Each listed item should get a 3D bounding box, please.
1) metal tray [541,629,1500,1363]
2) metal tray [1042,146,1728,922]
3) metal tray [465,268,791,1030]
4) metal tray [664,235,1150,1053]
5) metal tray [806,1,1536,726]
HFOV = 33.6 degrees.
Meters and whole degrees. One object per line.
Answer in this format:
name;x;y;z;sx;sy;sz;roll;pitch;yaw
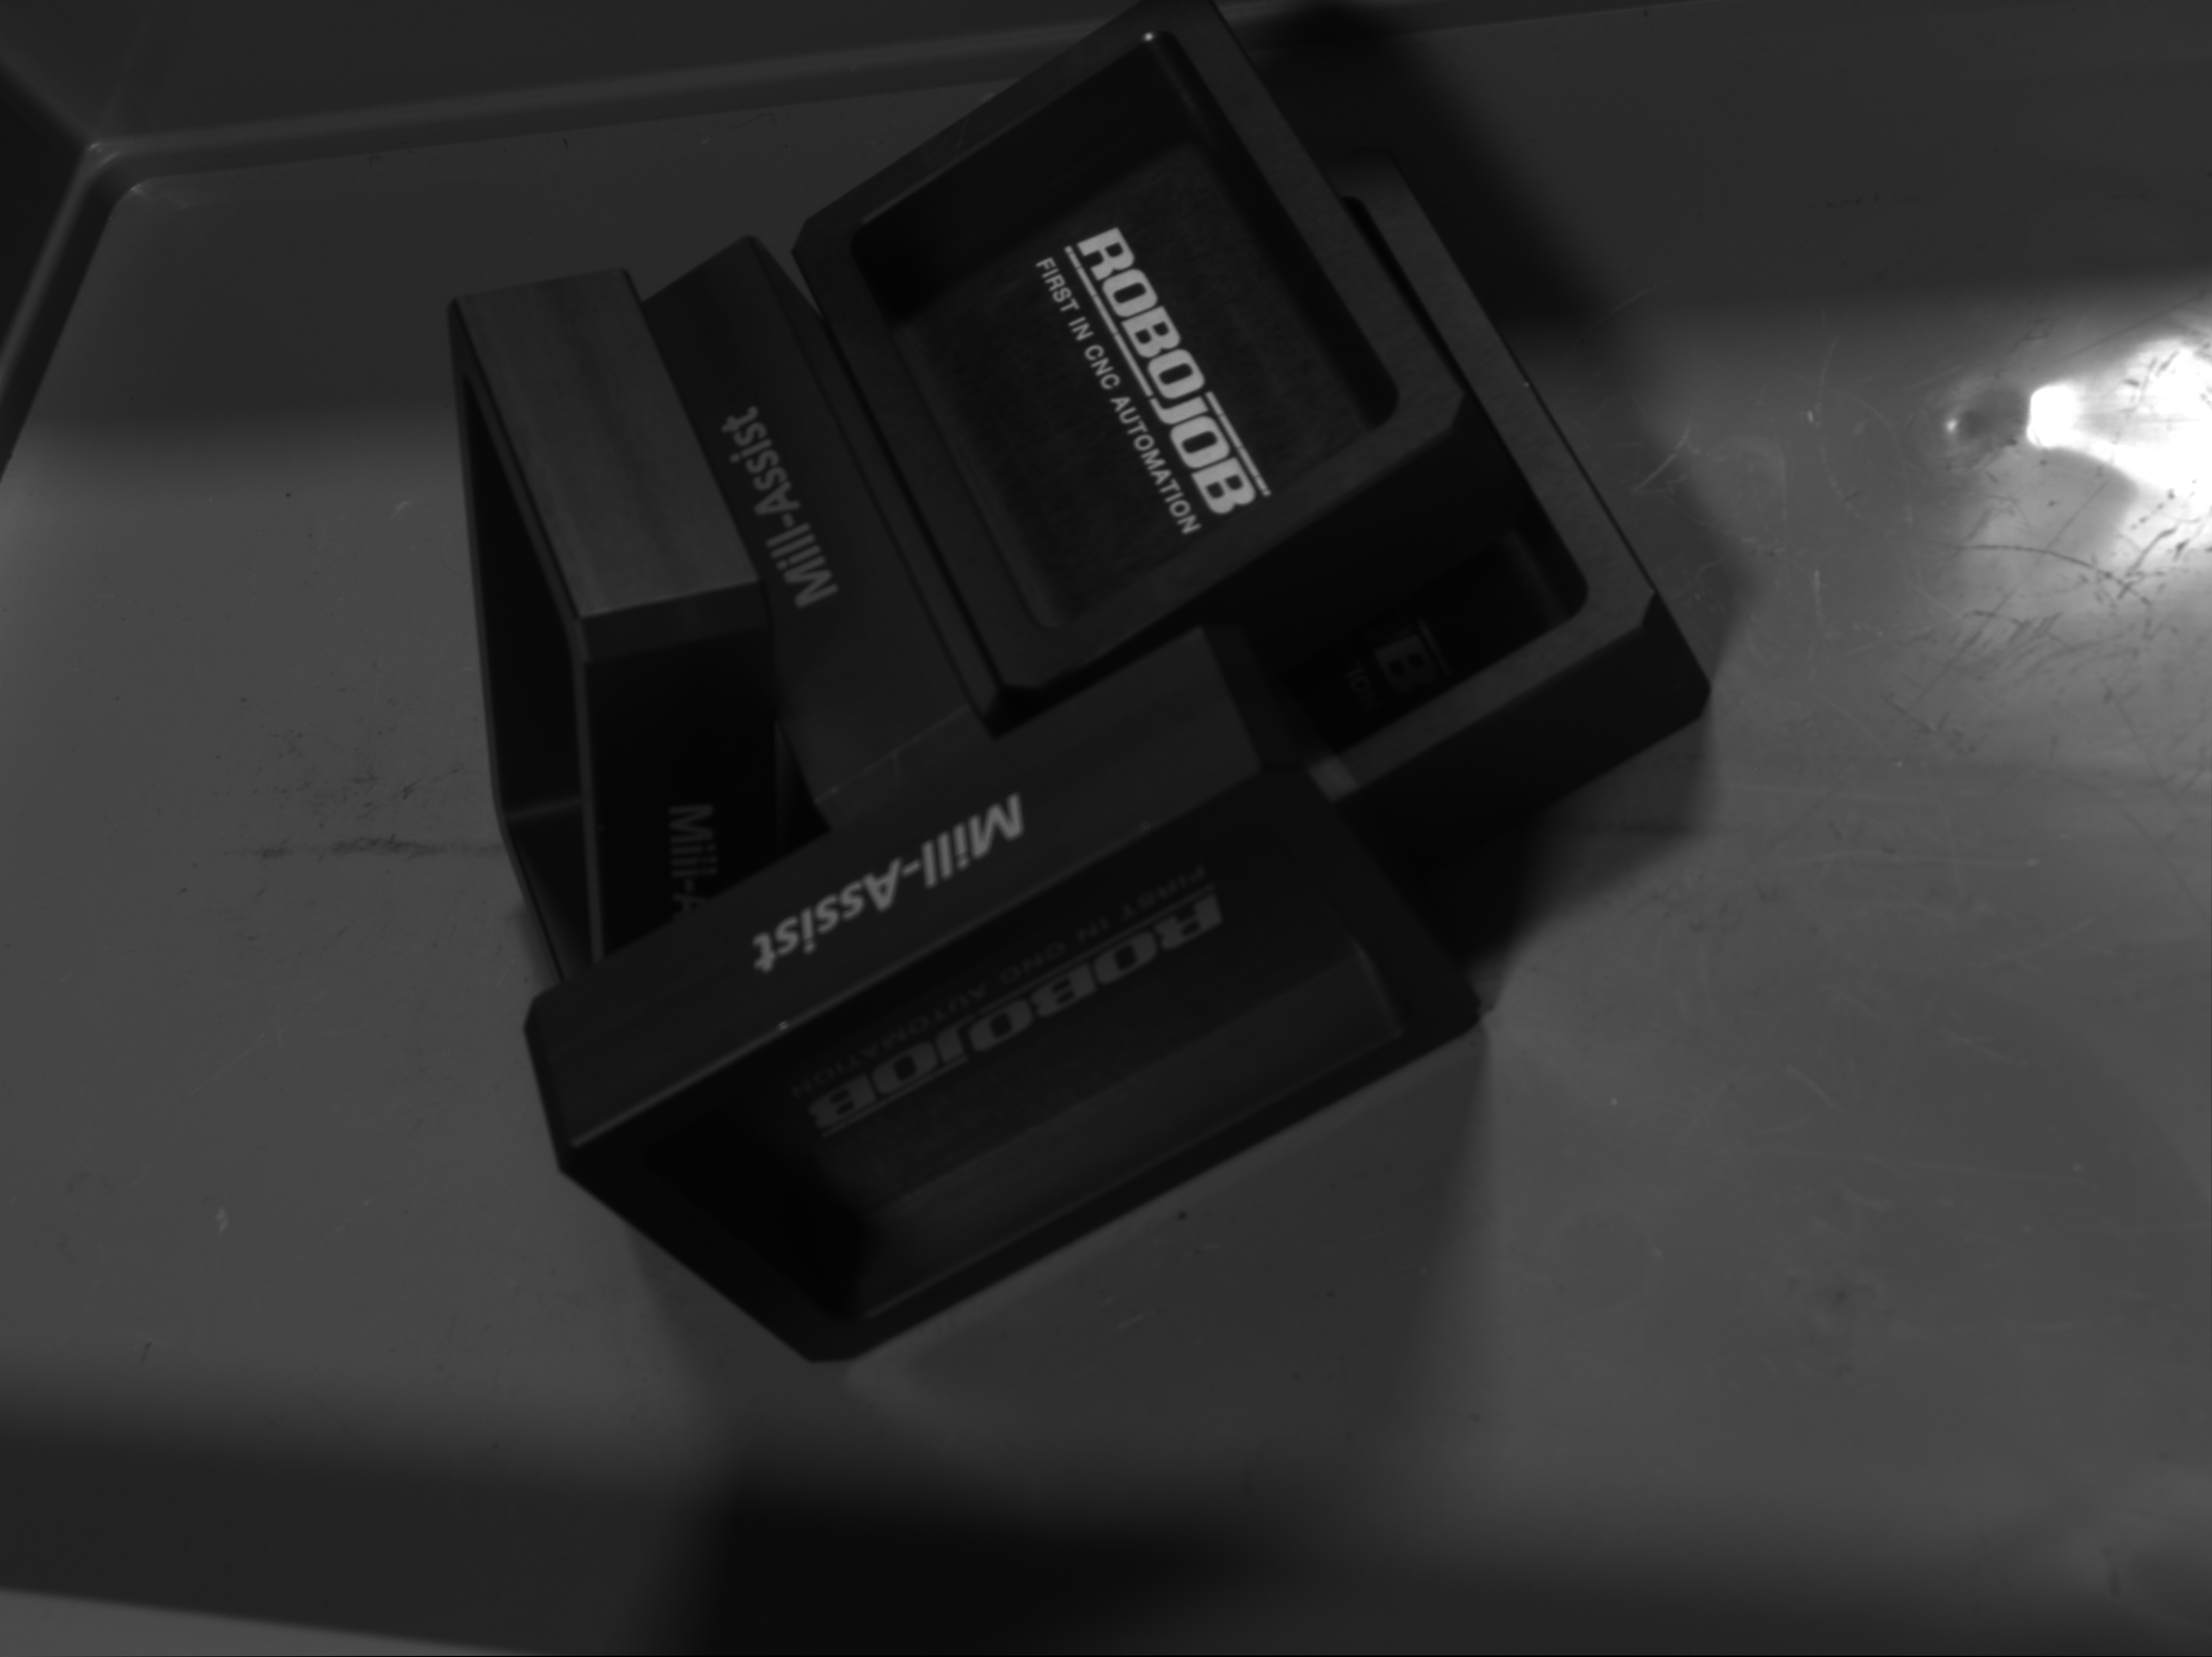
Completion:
metal tray;-0.012;0.030;0.589;0.130;0.090;0.030;-29;52;10
metal tray;0.043;-0.052;0.650;0.090;0.030;0.130;-31;50;10
metal tray;-0.082;-0.019;0.632;0.030;0.130;0.090;-13;49;-16
metal tray;-0.033;-0.032;0.637;0.030;0.090;0.130;-32;51;8
metal tray;0.008;-0.081;0.646;0.090;0.030;0.130;-32;51;8
